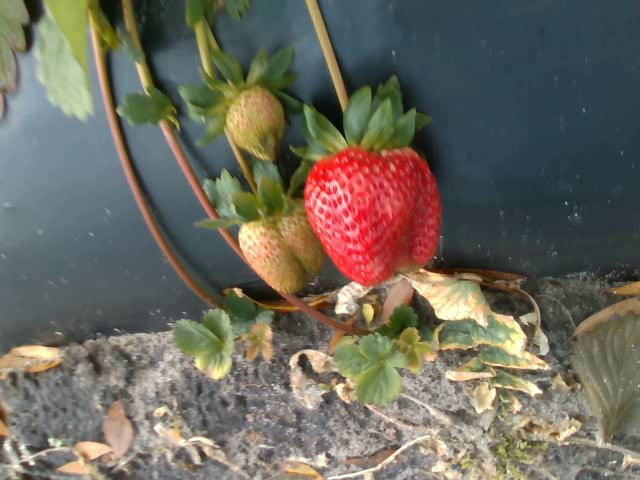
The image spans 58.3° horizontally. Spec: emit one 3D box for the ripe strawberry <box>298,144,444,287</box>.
[{"bbox_3d":[0.019,-0.004,0.219,0.067,0.052,0.074,-20,-48,27],"label":"ripe strawberry"}]
